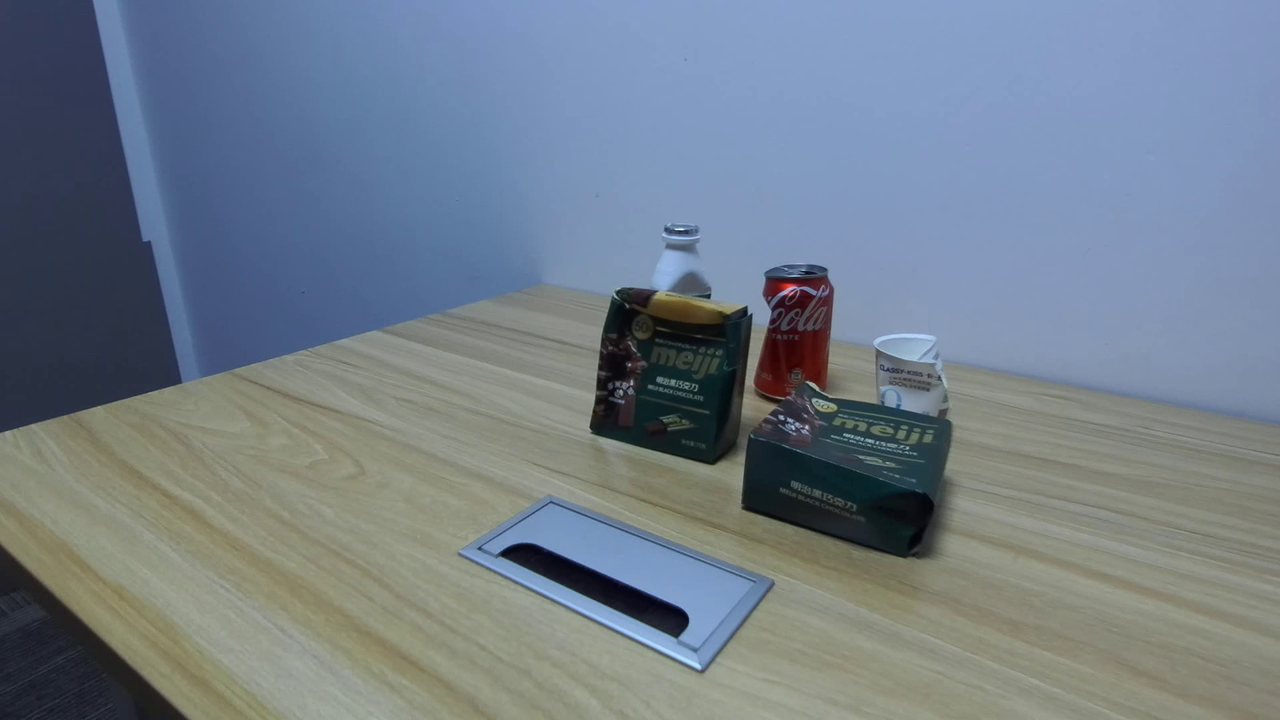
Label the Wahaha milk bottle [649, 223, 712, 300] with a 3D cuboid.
[{"bbox_3d":[0.036,-0.047,0.640,0.056,0.147,0.056,2,21,0],"label":"Wahaha milk bottle"}]

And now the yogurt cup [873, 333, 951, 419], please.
[{"bbox_3d":[0.218,0.021,0.571,0.067,0.070,0.067,0,23,0],"label":"yogurt cup"}]

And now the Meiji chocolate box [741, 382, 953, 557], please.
[{"bbox_3d":[0.138,0.068,0.462,0.115,0.058,0.123,15,24,26],"label":"Meiji chocolate box"}]

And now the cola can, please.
[{"bbox_3d":[0.138,-0.023,0.625,0.065,0.117,0.072,11,20,23],"label":"cola can"}]

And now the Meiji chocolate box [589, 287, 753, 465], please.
[{"bbox_3d":[0.024,0.008,0.539,0.117,0.117,0.052,12,14,27],"label":"Meiji chocolate box"}]
